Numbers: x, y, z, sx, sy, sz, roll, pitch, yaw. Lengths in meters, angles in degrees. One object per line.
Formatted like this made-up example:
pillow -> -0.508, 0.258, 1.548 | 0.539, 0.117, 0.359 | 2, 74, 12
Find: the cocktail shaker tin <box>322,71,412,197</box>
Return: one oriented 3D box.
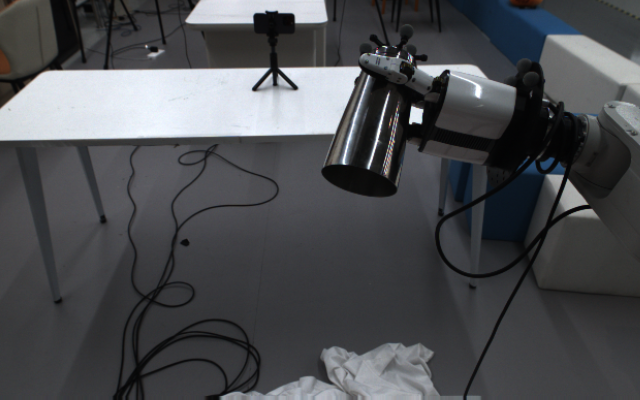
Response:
cocktail shaker tin -> 0.070, -0.102, 0.596 | 0.093, 0.093, 0.170 | 12, 72, 14
